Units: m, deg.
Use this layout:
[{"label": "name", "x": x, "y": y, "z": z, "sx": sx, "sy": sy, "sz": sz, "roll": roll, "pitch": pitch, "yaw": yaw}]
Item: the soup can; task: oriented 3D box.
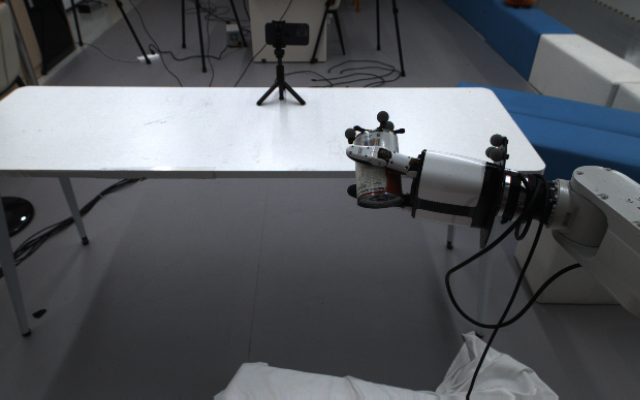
[{"label": "soup can", "x": 0.084, "y": -0.047, "z": 0.716, "sx": 0.067, "sy": 0.067, "sz": 0.101, "roll": -1, "pitch": 72, "yaw": -4}]
